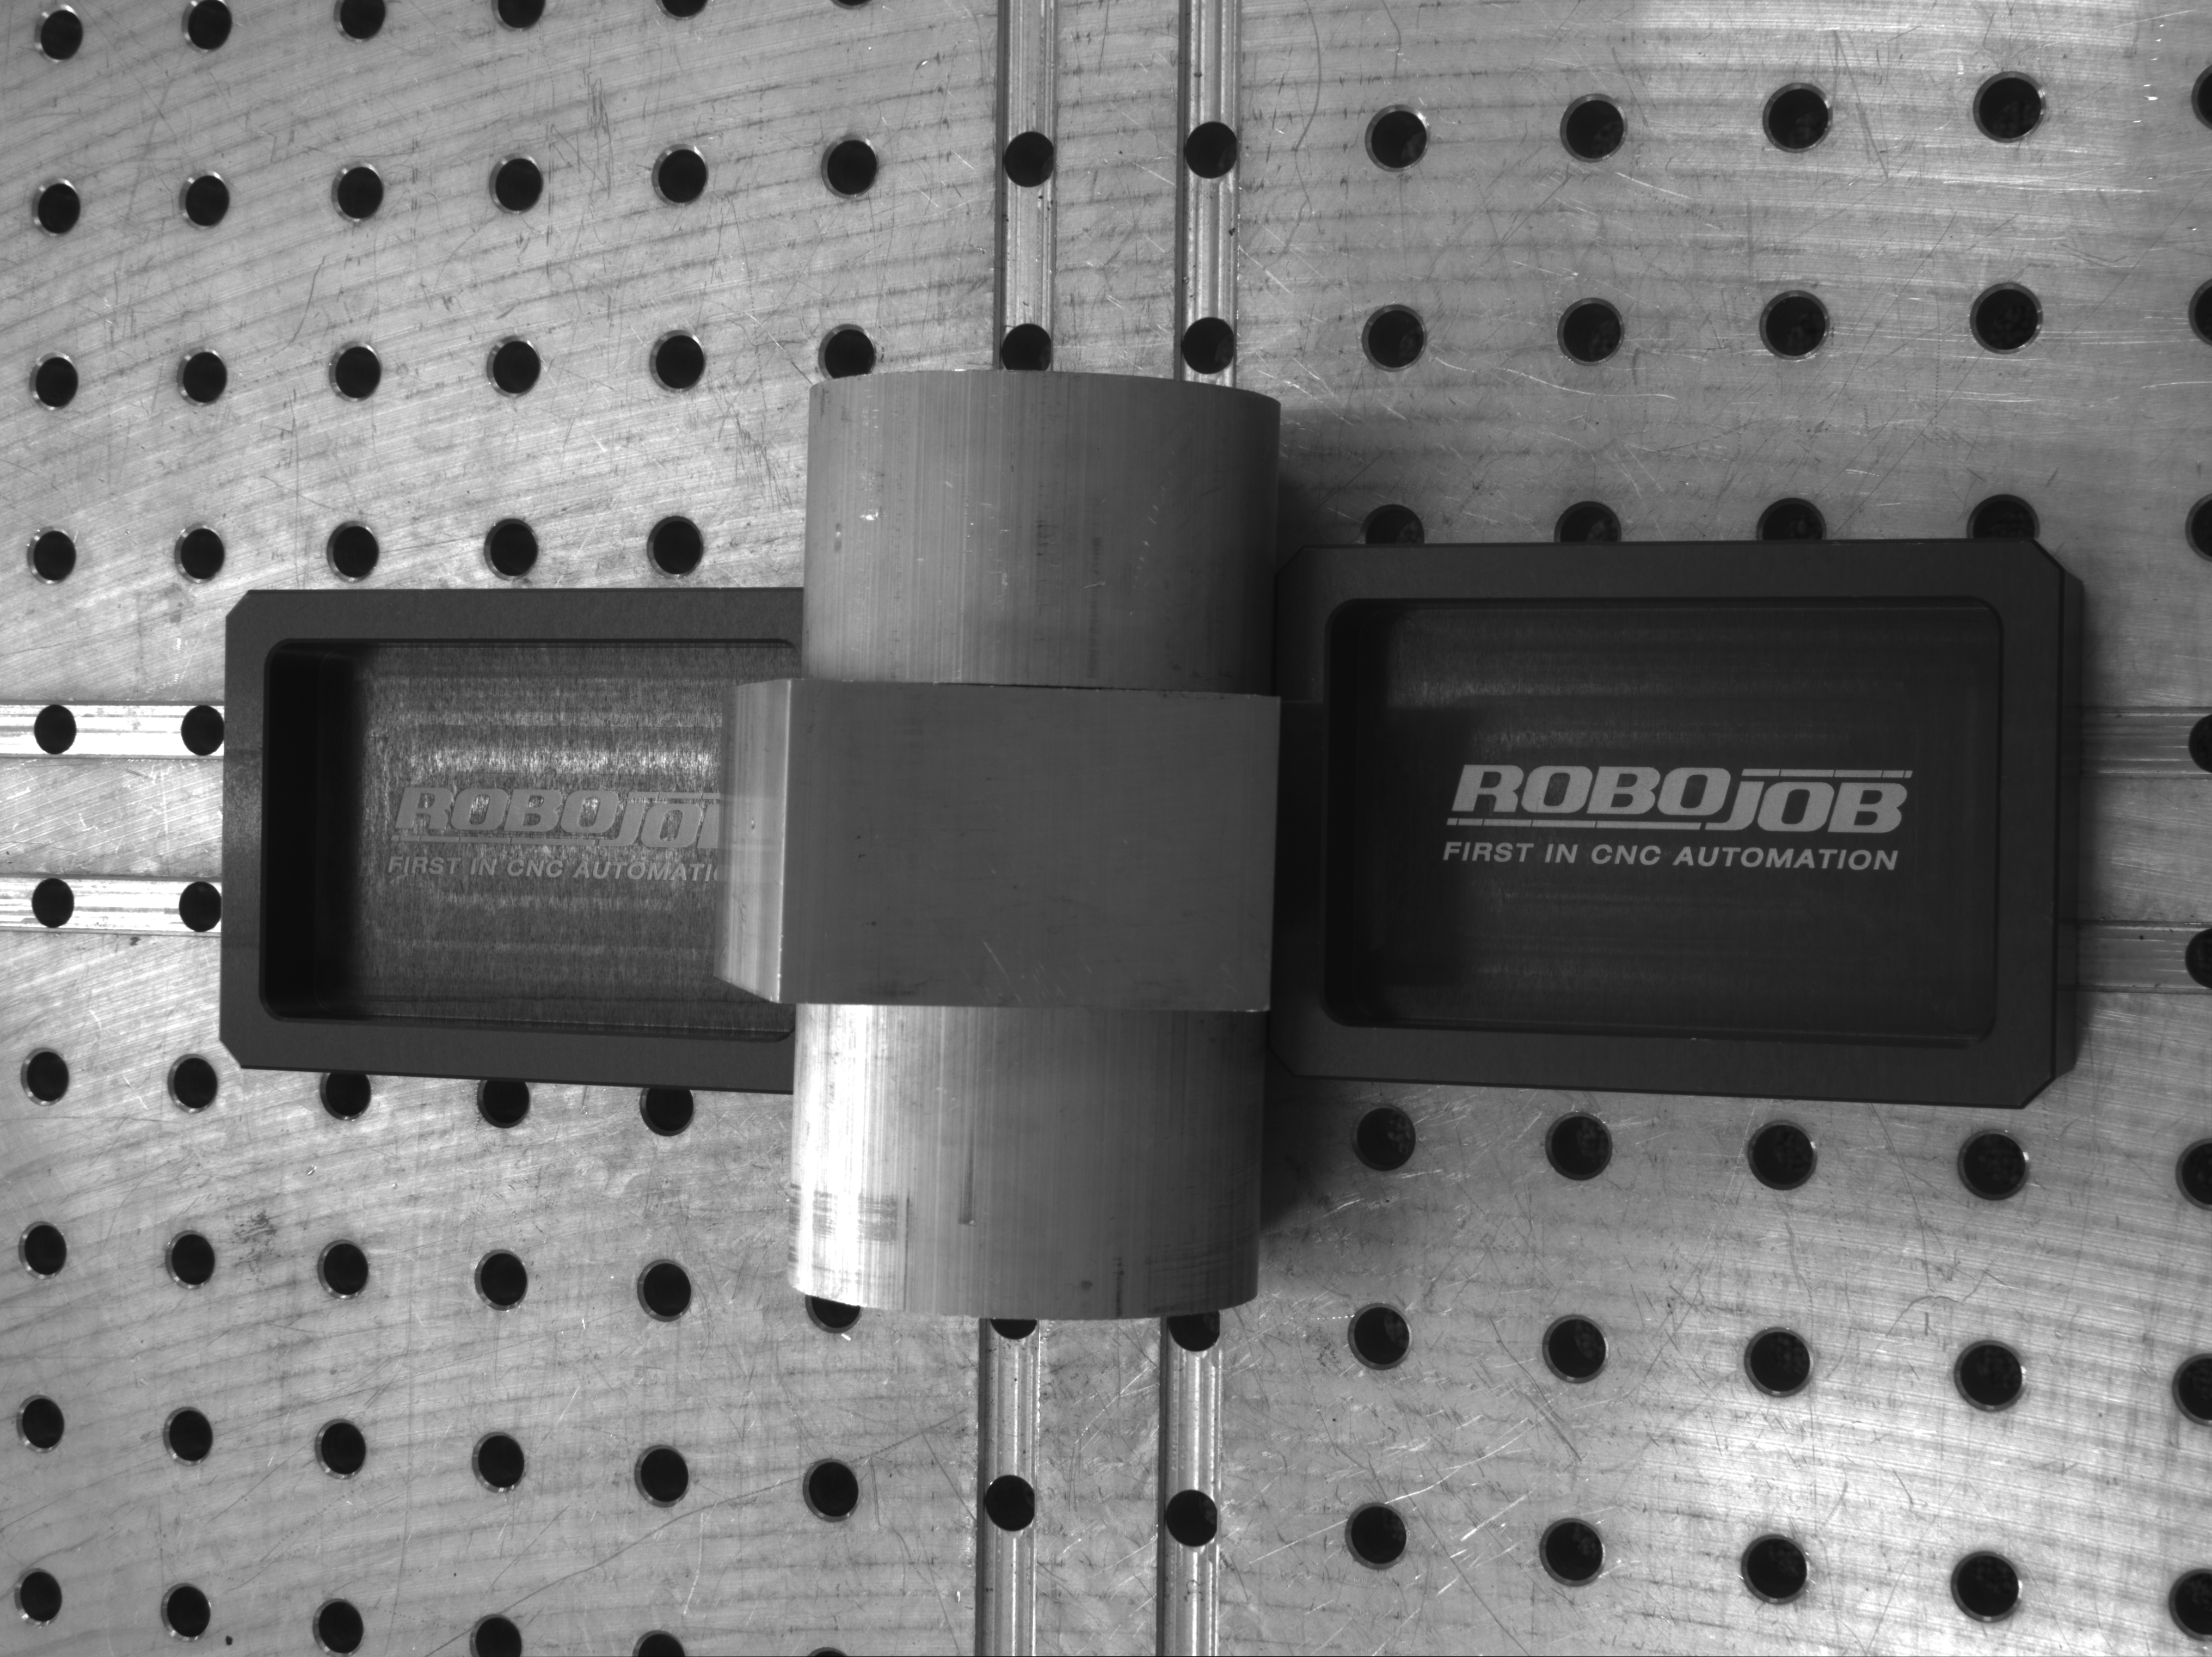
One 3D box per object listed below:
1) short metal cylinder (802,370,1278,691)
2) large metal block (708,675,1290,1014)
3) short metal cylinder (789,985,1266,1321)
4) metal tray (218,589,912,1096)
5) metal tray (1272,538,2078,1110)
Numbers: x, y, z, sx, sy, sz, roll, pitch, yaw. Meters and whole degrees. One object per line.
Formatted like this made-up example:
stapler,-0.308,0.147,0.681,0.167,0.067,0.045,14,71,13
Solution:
short metal cylinder,-0.011,-0.048,0.624,0.080,0.080,0.050,1,90,20
large metal block,-0.020,0.003,0.612,0.080,0.080,0.050,2,90,-14
short metal cylinder,-0.013,0.053,0.624,0.080,0.080,0.050,2,91,20
metal tray,-0.101,0.002,0.683,0.130,0.030,0.090,1,90,20
metal tray,0.094,-0.002,0.612,0.130,0.030,0.090,1,90,20
